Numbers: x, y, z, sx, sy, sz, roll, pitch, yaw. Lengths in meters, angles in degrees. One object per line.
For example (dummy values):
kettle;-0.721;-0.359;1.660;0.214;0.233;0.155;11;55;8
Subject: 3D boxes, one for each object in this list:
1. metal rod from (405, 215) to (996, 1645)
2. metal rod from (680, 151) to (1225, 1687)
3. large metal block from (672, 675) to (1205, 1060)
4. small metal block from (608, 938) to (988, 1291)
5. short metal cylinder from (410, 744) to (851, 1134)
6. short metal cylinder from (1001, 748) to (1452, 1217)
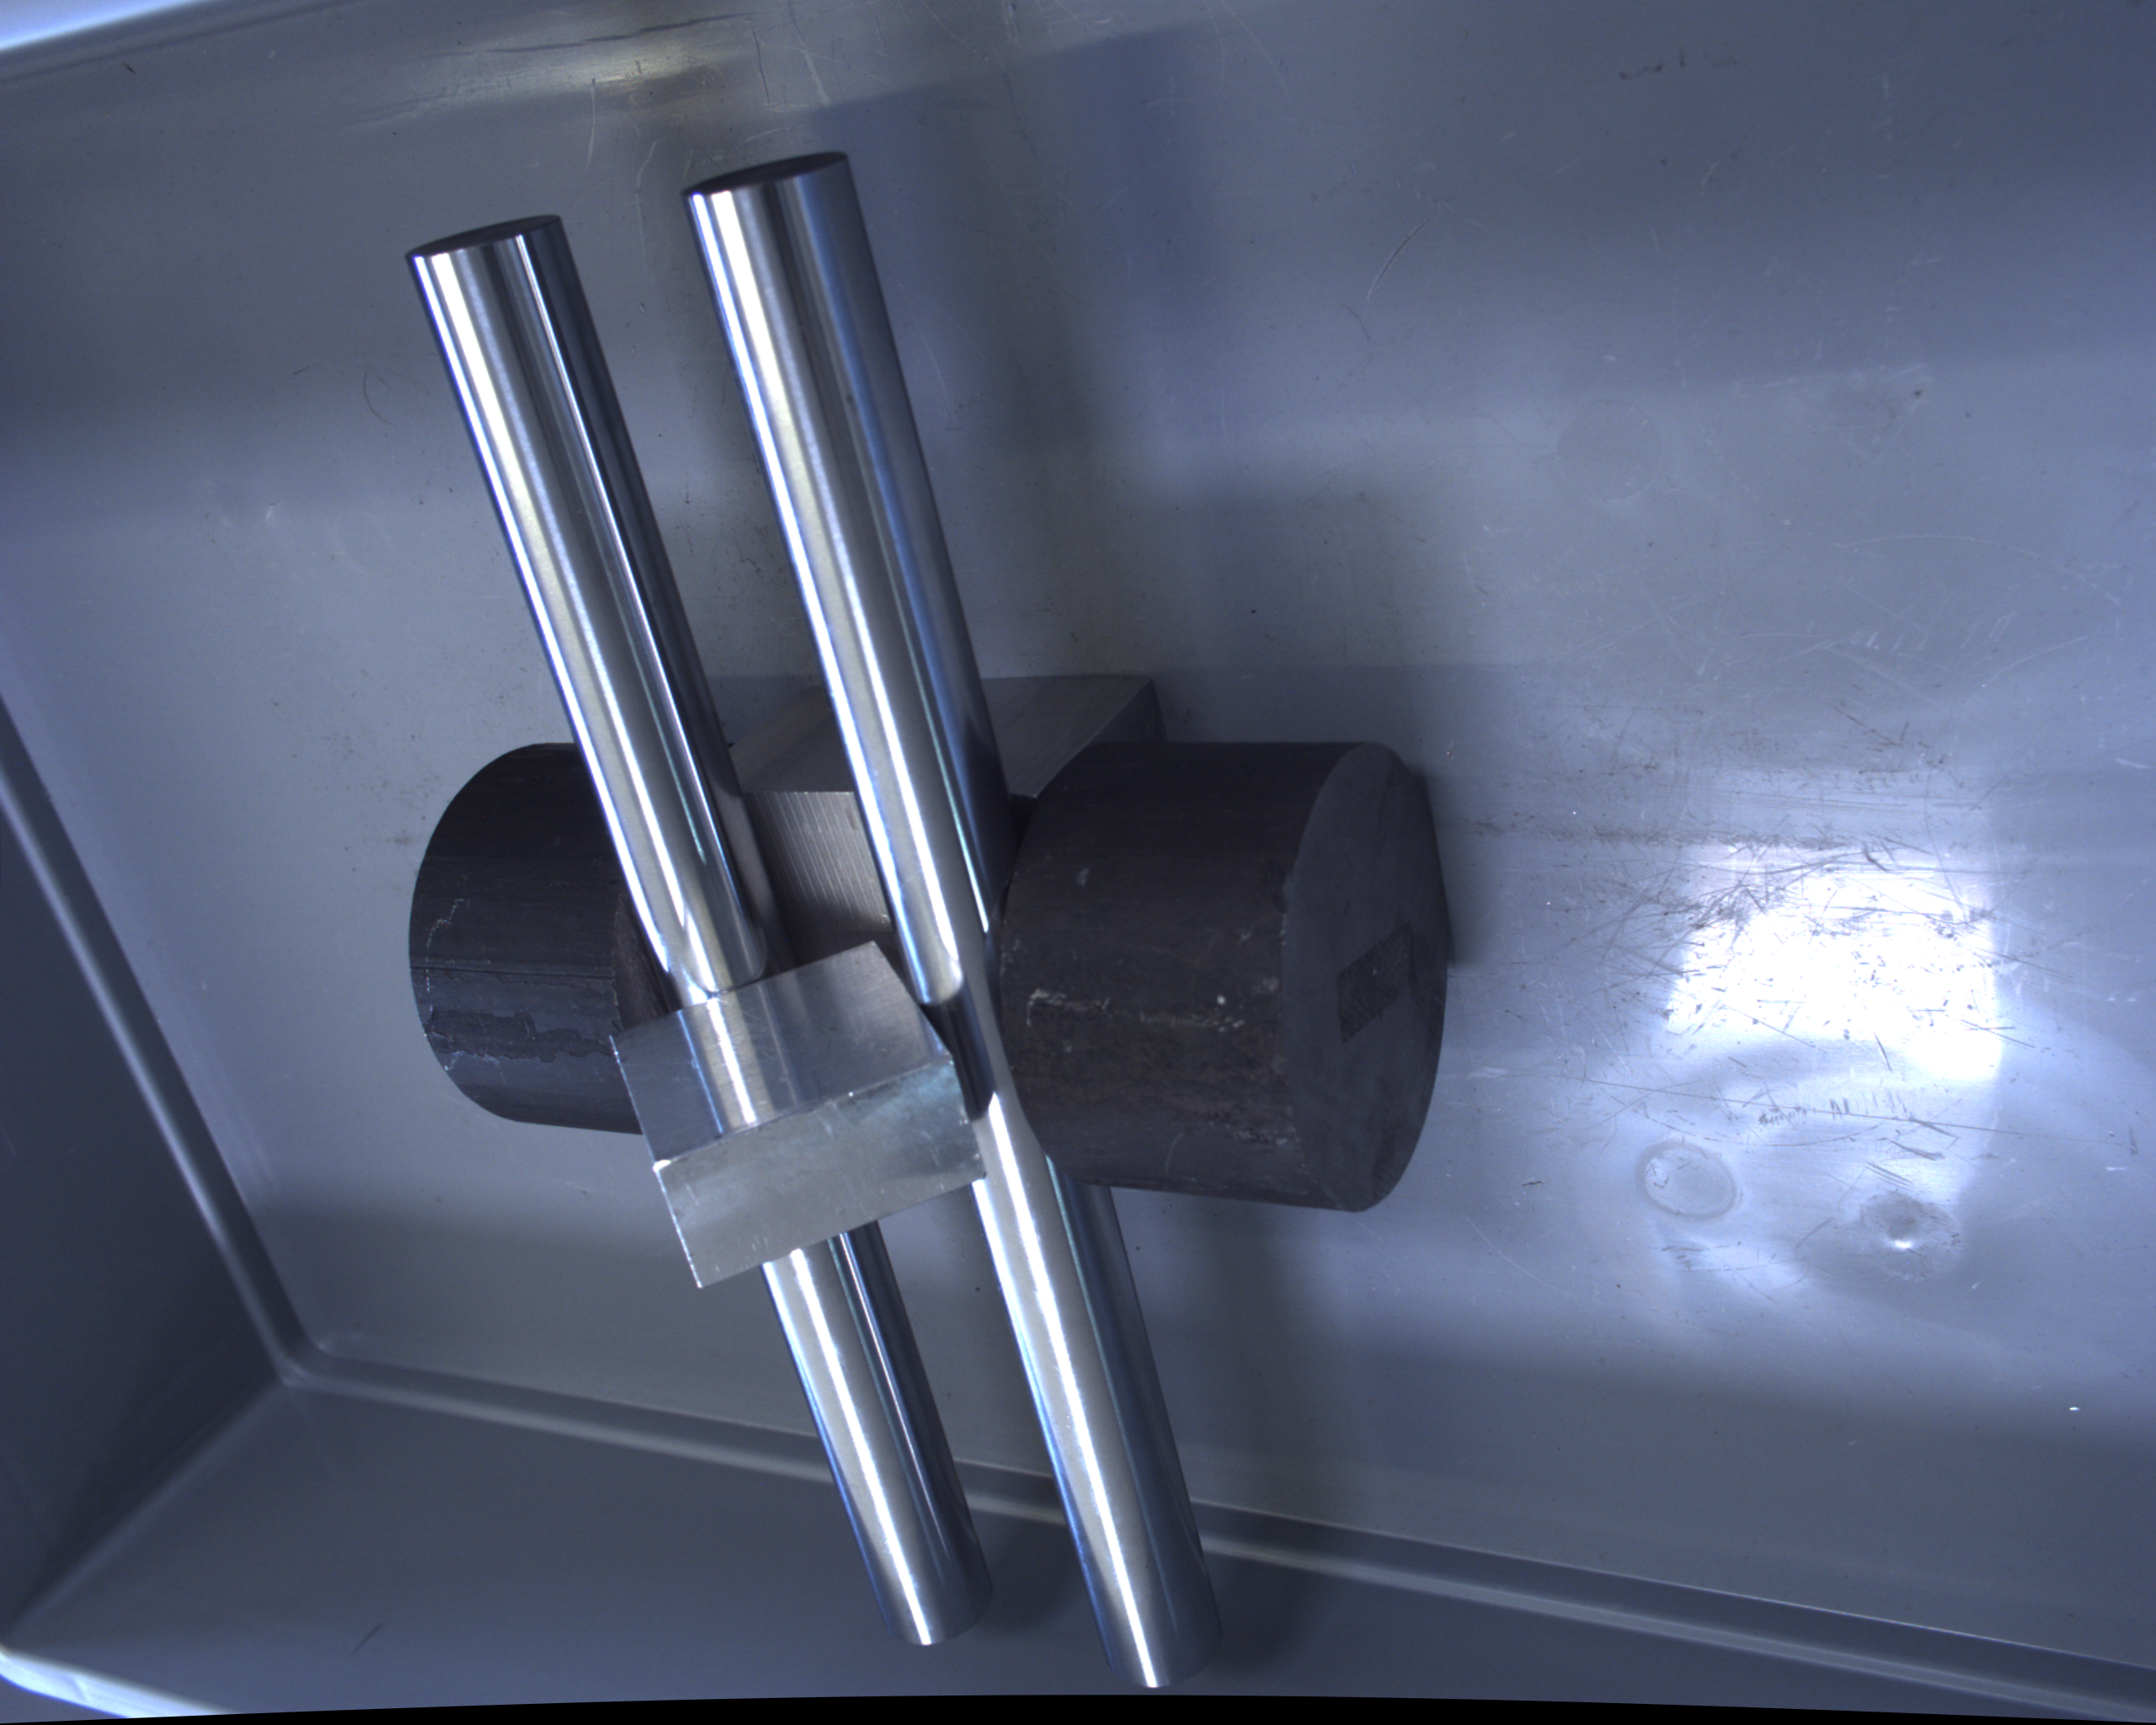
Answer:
metal rod;-0.062;0.031;0.395;0.025;0.025;0.298;1;119;28
metal rod;-0.014;0.030;0.368;0.025;0.025;0.298;1;119;28
large metal block;-0.024;0.011;0.409;0.080;0.050;0.080;1;119;27
small metal block;-0.049;0.042;0.361;0.050;0.050;0.025;-135;28;-61
short metal cylinder;-0.088;0.015;0.427;0.050;0.080;0.080;1;119;27
short metal cylinder;0.029;0.020;0.367;0.050;0.080;0.080;1;119;29
